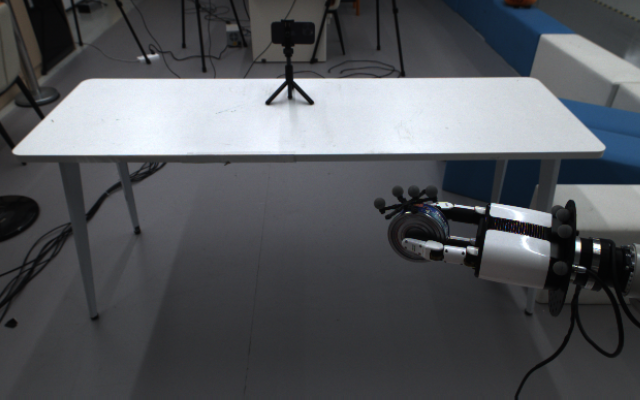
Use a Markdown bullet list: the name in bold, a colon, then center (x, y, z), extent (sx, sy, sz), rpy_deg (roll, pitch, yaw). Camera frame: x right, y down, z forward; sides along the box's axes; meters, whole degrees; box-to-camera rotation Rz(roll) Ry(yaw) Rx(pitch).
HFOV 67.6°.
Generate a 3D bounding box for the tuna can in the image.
- **tuna can**: center (0.146, 0.046, 0.708), extent (0.085, 0.085, 0.034), rpy_deg (15, 30, 17)
